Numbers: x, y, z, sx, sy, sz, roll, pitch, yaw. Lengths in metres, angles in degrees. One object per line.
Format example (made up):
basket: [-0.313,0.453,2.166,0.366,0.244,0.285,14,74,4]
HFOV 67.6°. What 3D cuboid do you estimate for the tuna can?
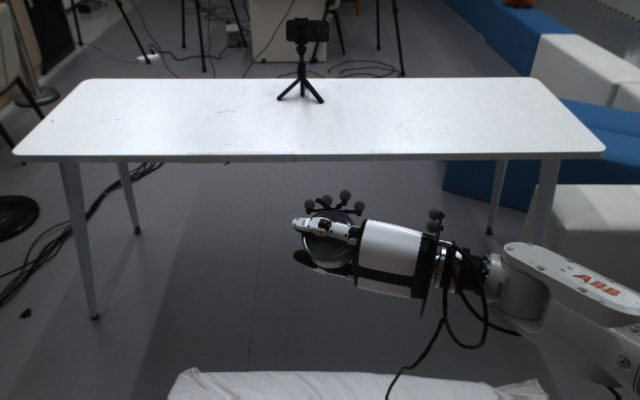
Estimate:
tuna can: [0.017,0.060,0.740,0.085,0.034,0.085,-4,61,7]
